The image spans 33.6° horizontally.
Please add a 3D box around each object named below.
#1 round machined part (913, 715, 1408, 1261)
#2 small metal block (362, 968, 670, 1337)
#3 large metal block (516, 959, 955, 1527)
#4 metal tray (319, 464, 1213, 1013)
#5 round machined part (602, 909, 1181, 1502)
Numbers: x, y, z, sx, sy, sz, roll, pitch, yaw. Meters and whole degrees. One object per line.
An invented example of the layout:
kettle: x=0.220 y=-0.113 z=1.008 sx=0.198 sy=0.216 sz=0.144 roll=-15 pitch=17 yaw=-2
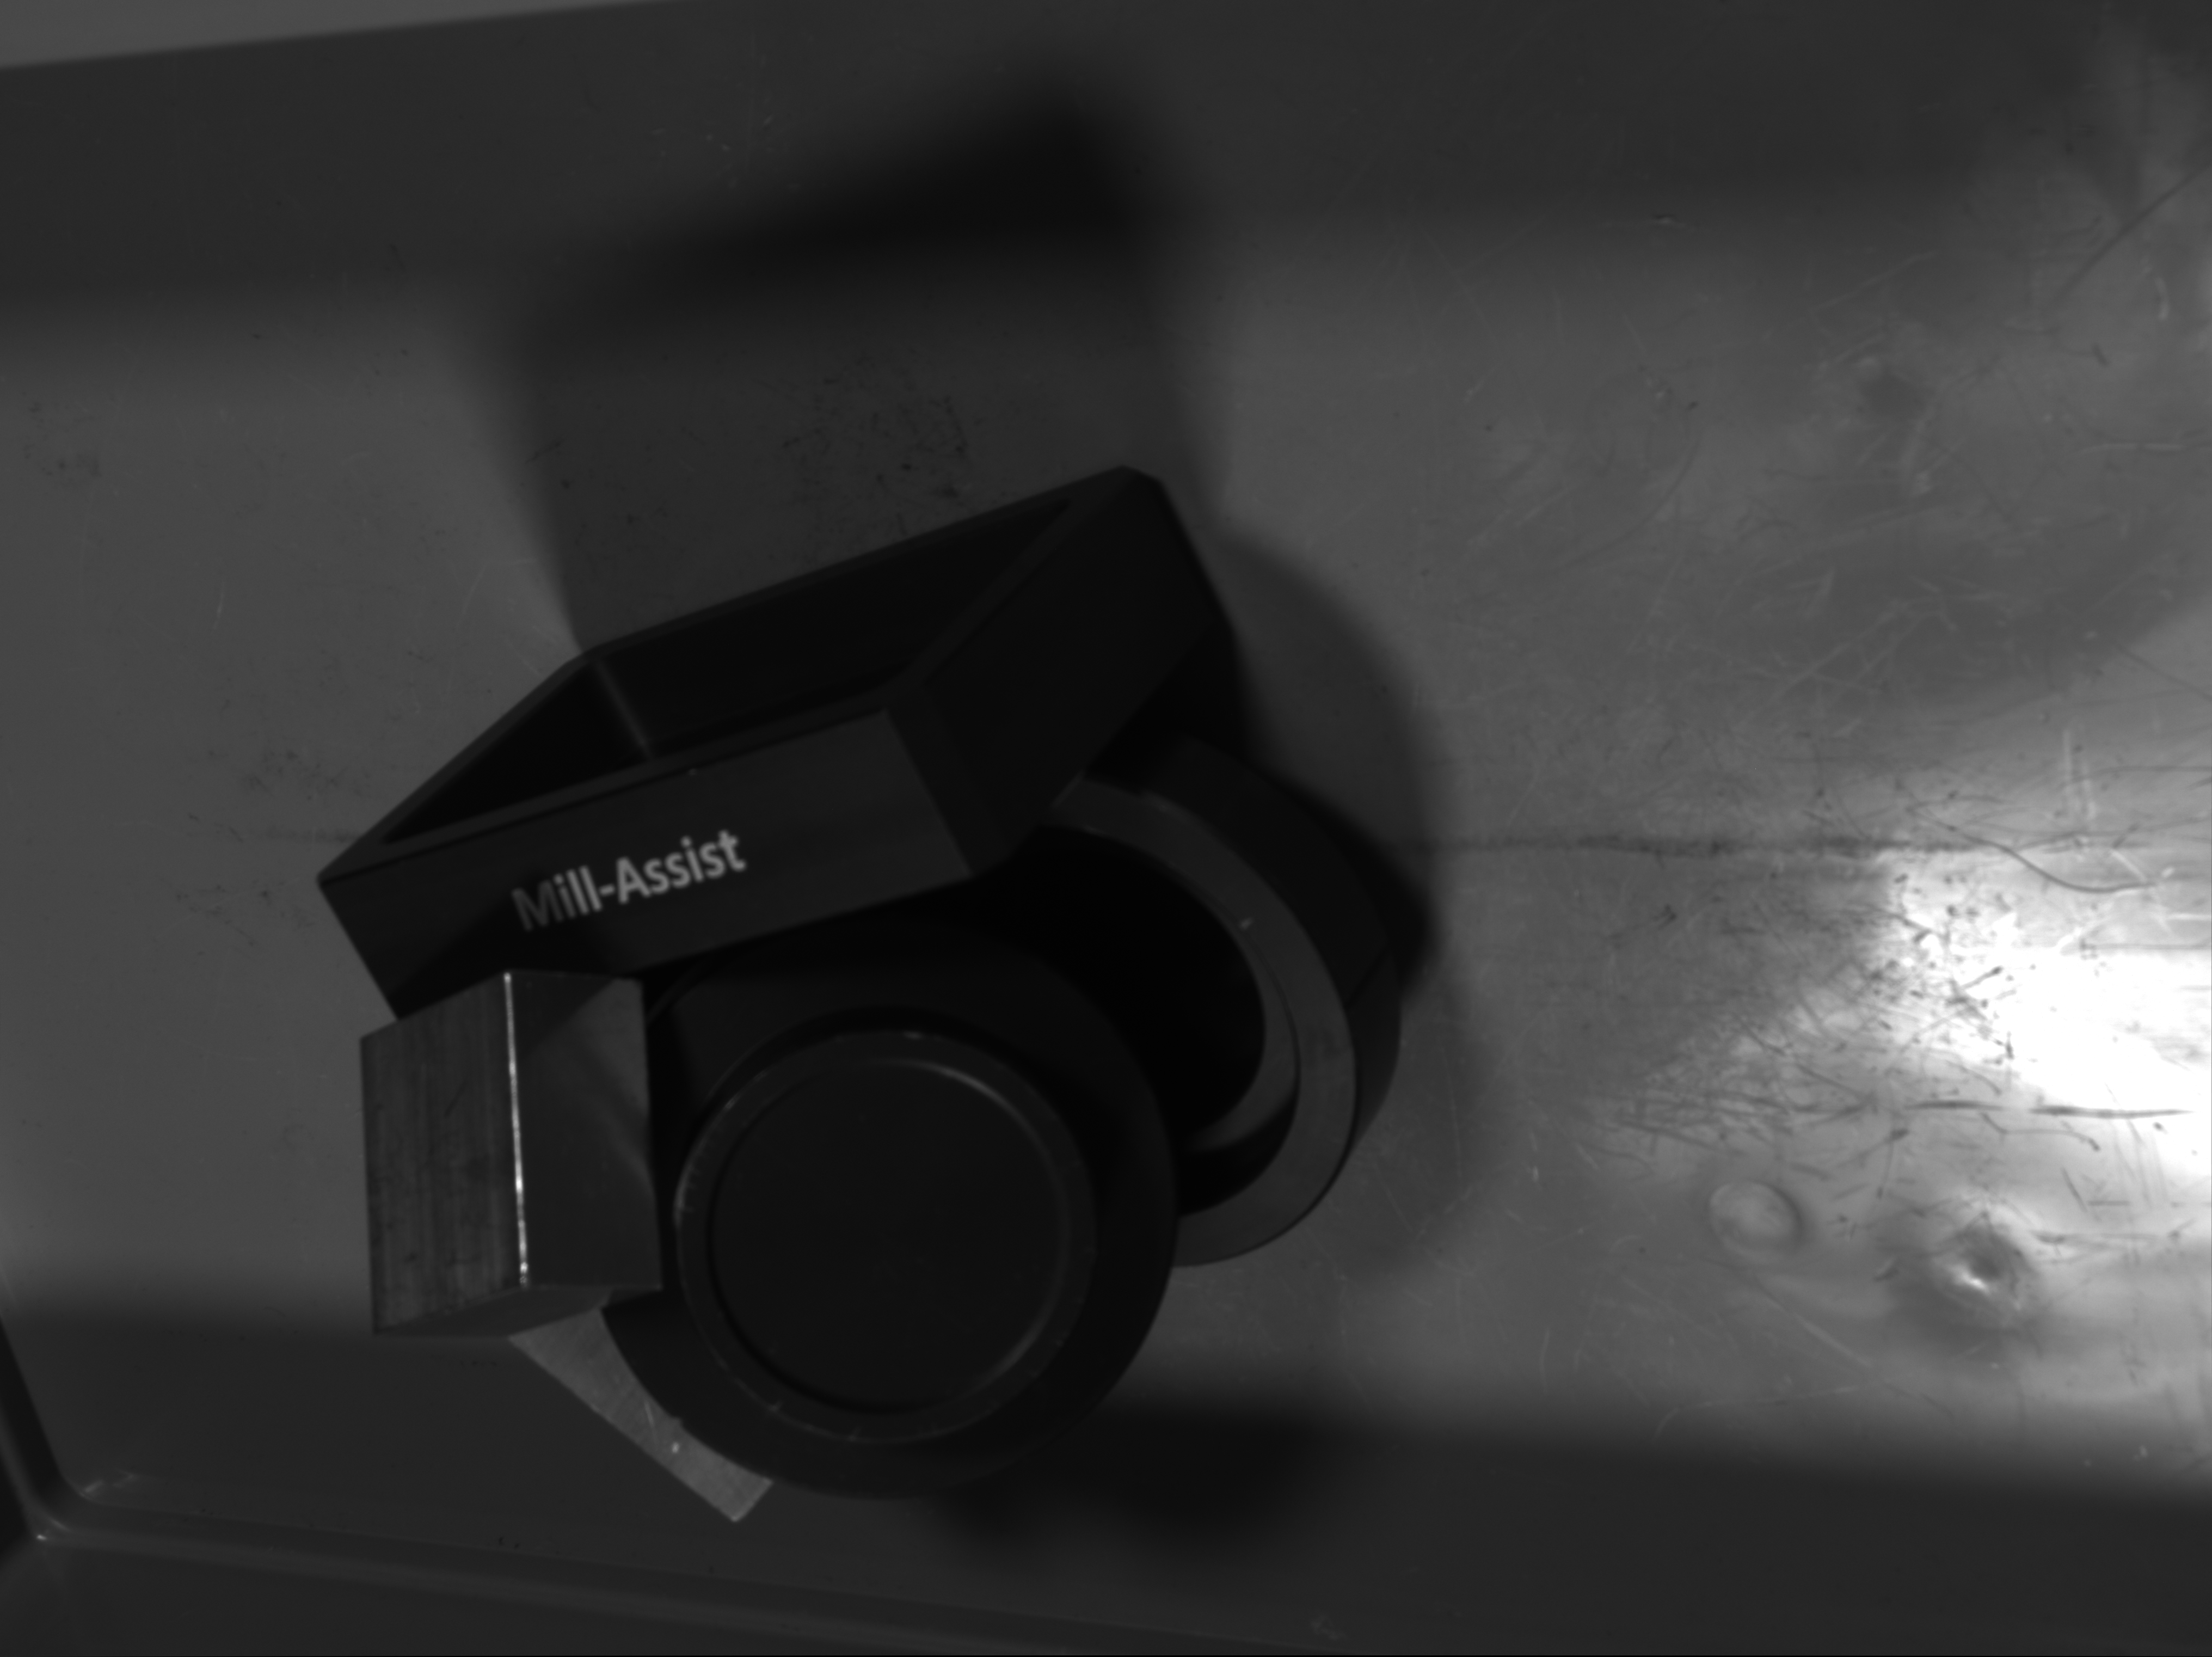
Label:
round machined part: x=0.006 y=0.023 z=0.631 sx=0.098 sy=0.042 sz=0.098 roll=12 pitch=123 yaw=20
small metal block: x=-0.096 y=0.053 z=0.593 sx=0.050 sy=0.025 sz=0.050 roll=-23 pitch=68 yaw=48
large metal block: x=-0.067 y=0.065 z=0.668 sx=0.080 sy=0.080 sz=0.050 roll=39 pitch=128 yaw=0
metal tray: x=-0.057 y=-0.013 z=0.608 sx=0.130 sy=0.090 sz=0.030 roll=-16 pitch=111 yaw=33
round machined part: x=-0.036 y=0.063 z=0.601 sx=0.098 sy=0.042 sz=0.098 roll=-1 pitch=96 yaw=-6
